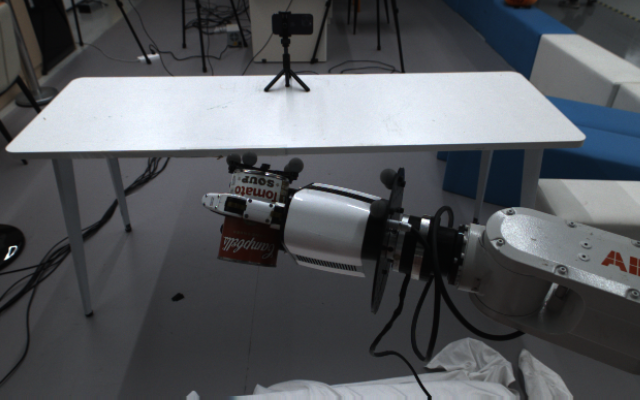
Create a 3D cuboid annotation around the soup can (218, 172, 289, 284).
[{"bbox_3d":[-0.074,0.022,0.550,0.067,0.101,0.067,9,-6,1],"label":"soup can"}]
